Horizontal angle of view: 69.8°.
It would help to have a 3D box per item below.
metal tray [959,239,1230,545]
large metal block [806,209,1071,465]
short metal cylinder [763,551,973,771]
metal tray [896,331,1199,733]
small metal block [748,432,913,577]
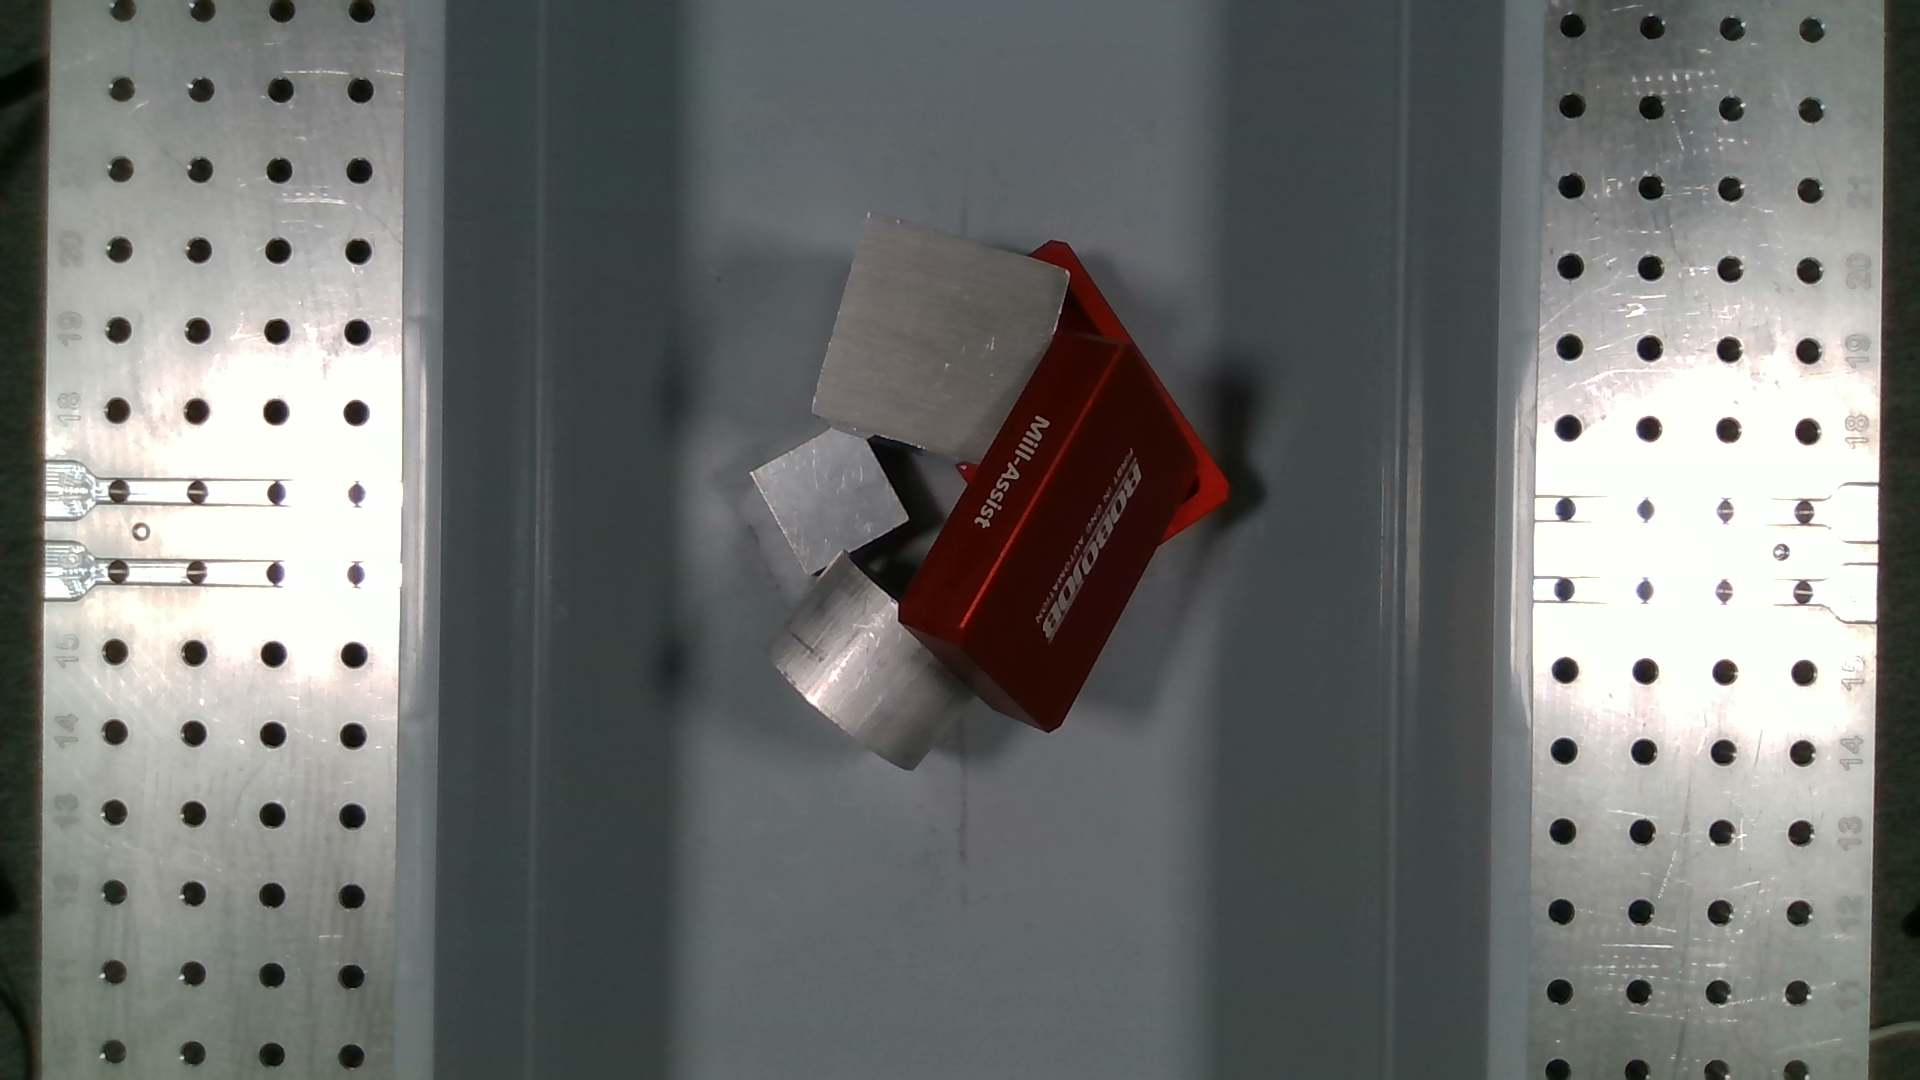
[{"bbox_3d":[0.041,-0.048,0.582,0.090,0.030,0.130,-34,90,0],"label":"metal tray"},{"bbox_3d":[-0.008,-0.074,0.541,0.080,0.050,0.080,16,90,0],"label":"large metal block"},{"bbox_3d":[-0.033,0.049,0.559,0.080,0.080,0.050,39,90,0],"label":"short metal cylinder"},{"bbox_3d":[0.037,-0.002,0.524,0.030,0.090,0.130,20,73,37],"label":"metal tray"},{"bbox_3d":[-0.054,-0.019,0.586,0.050,0.025,0.050,-29,90,0],"label":"small metal block"}]
